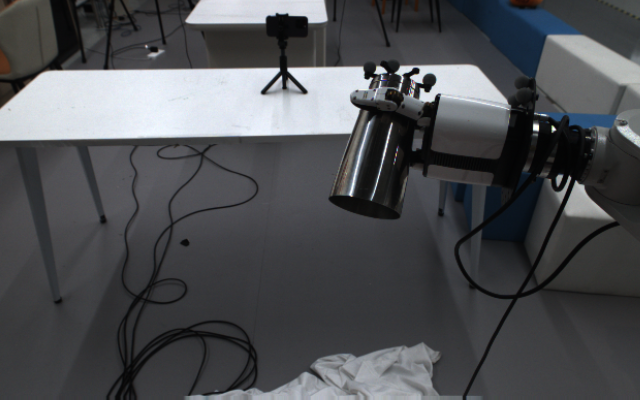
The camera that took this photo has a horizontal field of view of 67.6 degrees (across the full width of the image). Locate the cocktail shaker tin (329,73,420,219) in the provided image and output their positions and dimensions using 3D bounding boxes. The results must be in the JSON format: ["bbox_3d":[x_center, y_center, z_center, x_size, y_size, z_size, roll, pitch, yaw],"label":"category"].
[{"bbox_3d":[0.080,-0.073,0.616,0.093,0.093,0.170,13,77,15],"label":"cocktail shaker tin"}]
